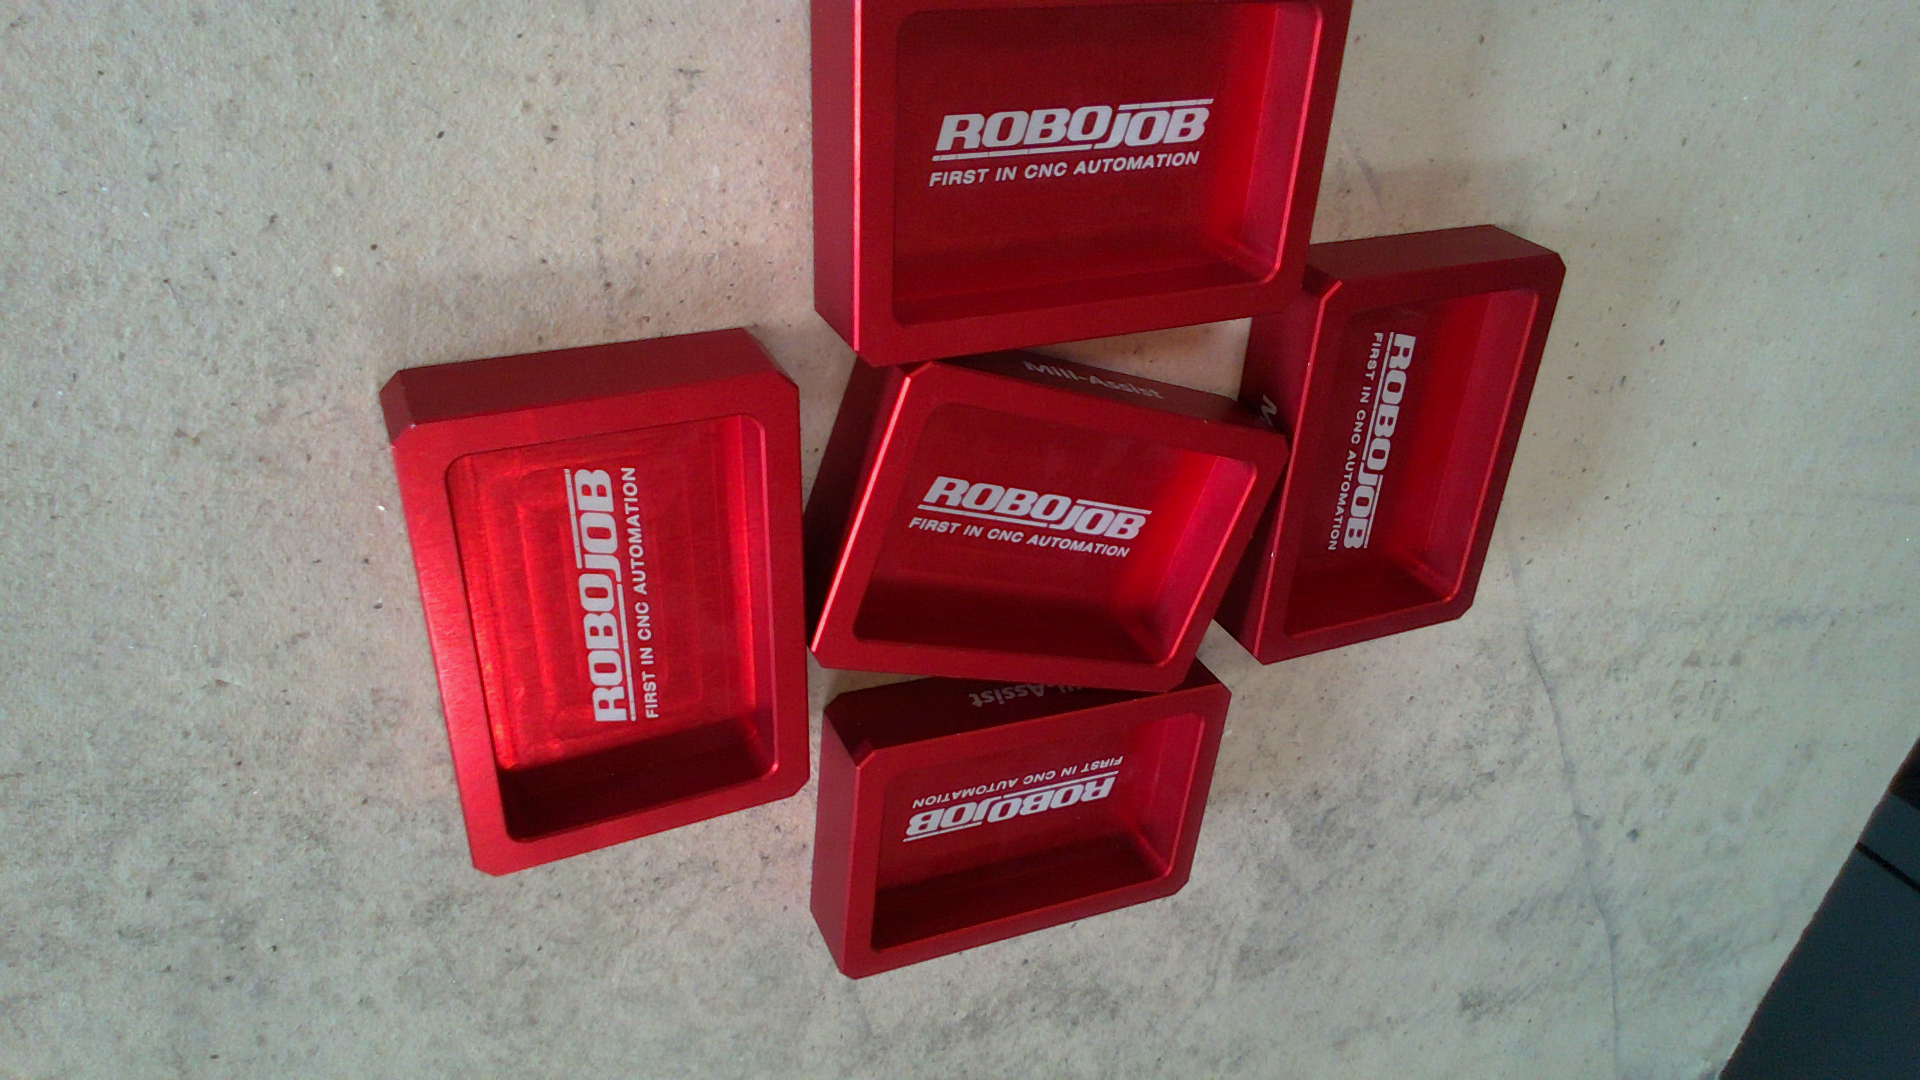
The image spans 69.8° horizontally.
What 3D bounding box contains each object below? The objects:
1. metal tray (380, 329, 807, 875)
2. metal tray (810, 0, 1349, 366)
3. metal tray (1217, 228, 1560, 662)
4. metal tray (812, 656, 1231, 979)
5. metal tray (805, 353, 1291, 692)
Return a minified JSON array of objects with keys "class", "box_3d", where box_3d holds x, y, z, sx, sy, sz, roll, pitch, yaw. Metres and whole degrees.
[{"class":"metal tray","box_3d":[-0.087,0.017,0.349,0.090,0.030,0.130,-11,123,-22]},{"class":"metal tray","box_3d":[0.029,-0.097,0.343,0.130,0.030,0.090,-10,123,-22]},{"class":"metal tray","box_3d":[0.131,-0.029,0.440,0.090,0.030,0.130,-10,123,-22]},{"class":"metal tray","box_3d":[0.019,0.086,0.449,0.130,0.030,0.090,-7,121,-24]},{"class":"metal tray","box_3d":[0.022,-0.005,0.395,0.130,0.030,0.090,8,116,-31]}]
